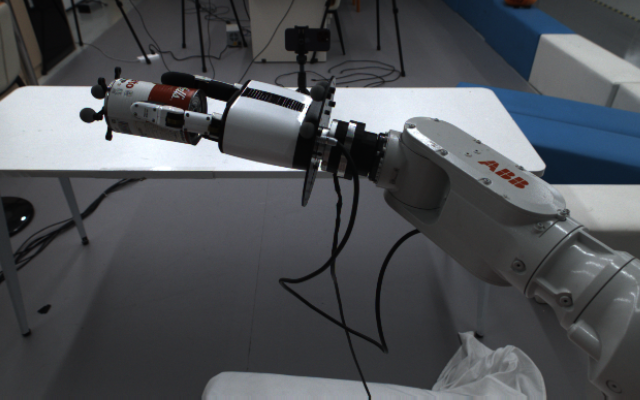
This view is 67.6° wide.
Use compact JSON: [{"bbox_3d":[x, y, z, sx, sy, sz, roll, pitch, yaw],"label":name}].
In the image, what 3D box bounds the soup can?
[{"bbox_3d":[-0.195,-0.107,0.586,0.101,0.067,0.067,9,35,2],"label":"soup can"}]
